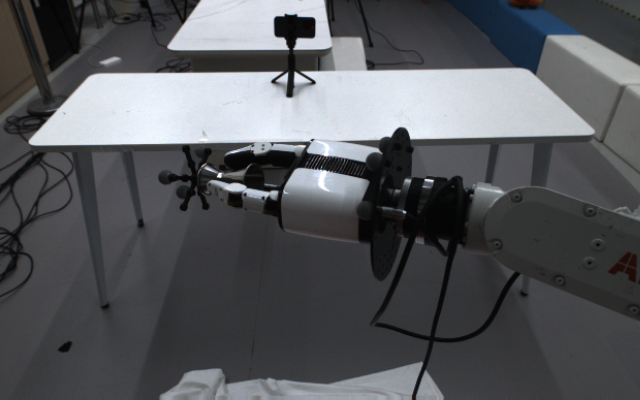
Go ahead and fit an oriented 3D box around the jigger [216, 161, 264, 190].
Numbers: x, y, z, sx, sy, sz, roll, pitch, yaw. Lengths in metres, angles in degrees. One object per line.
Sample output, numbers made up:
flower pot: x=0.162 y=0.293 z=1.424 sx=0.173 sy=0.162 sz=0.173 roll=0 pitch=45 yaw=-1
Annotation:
jigger: x=-0.098 y=-0.029 z=0.573 sx=0.071 sy=0.043 sz=0.043 roll=3 pitch=32 yaw=25
